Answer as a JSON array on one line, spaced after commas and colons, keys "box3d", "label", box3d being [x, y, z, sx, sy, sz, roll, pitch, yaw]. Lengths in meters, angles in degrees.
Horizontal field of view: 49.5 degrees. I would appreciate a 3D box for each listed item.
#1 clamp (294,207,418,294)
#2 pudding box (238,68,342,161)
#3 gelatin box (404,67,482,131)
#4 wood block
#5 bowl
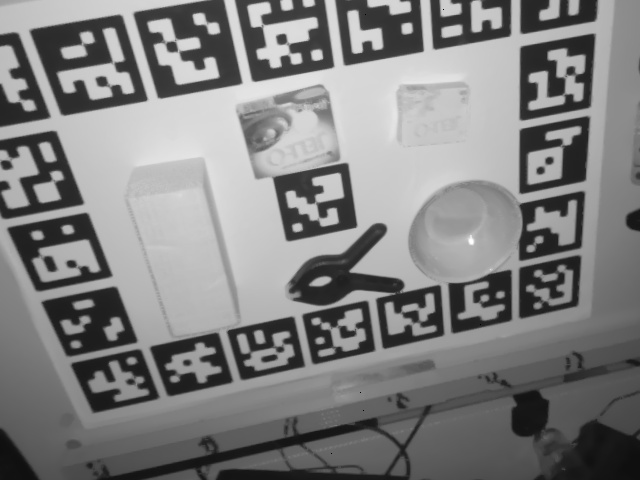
[{"box3d": [0.042, 0.030, 0.952, 0.165, 0.037, 0.121, -19, 119, 3], "label": "clamp"}, {"box3d": [-0.035, -0.151, 0.833, 0.114, 0.039, 0.089, -12, 115, -5], "label": "pudding box"}, {"box3d": [0.151, -0.174, 0.854, 0.090, 0.030, 0.072, -3, 117, -8], "label": "gelatin box"}, {"box3d": [-0.173, -0.012, 0.854, 0.090, 0.091, 0.205, -7, 119, -3], "label": "wood block"}, {"box3d": [0.197, -0.028, 0.934, 0.162, 0.055, 0.160, -3, 116, -6], "label": "bowl"}]
